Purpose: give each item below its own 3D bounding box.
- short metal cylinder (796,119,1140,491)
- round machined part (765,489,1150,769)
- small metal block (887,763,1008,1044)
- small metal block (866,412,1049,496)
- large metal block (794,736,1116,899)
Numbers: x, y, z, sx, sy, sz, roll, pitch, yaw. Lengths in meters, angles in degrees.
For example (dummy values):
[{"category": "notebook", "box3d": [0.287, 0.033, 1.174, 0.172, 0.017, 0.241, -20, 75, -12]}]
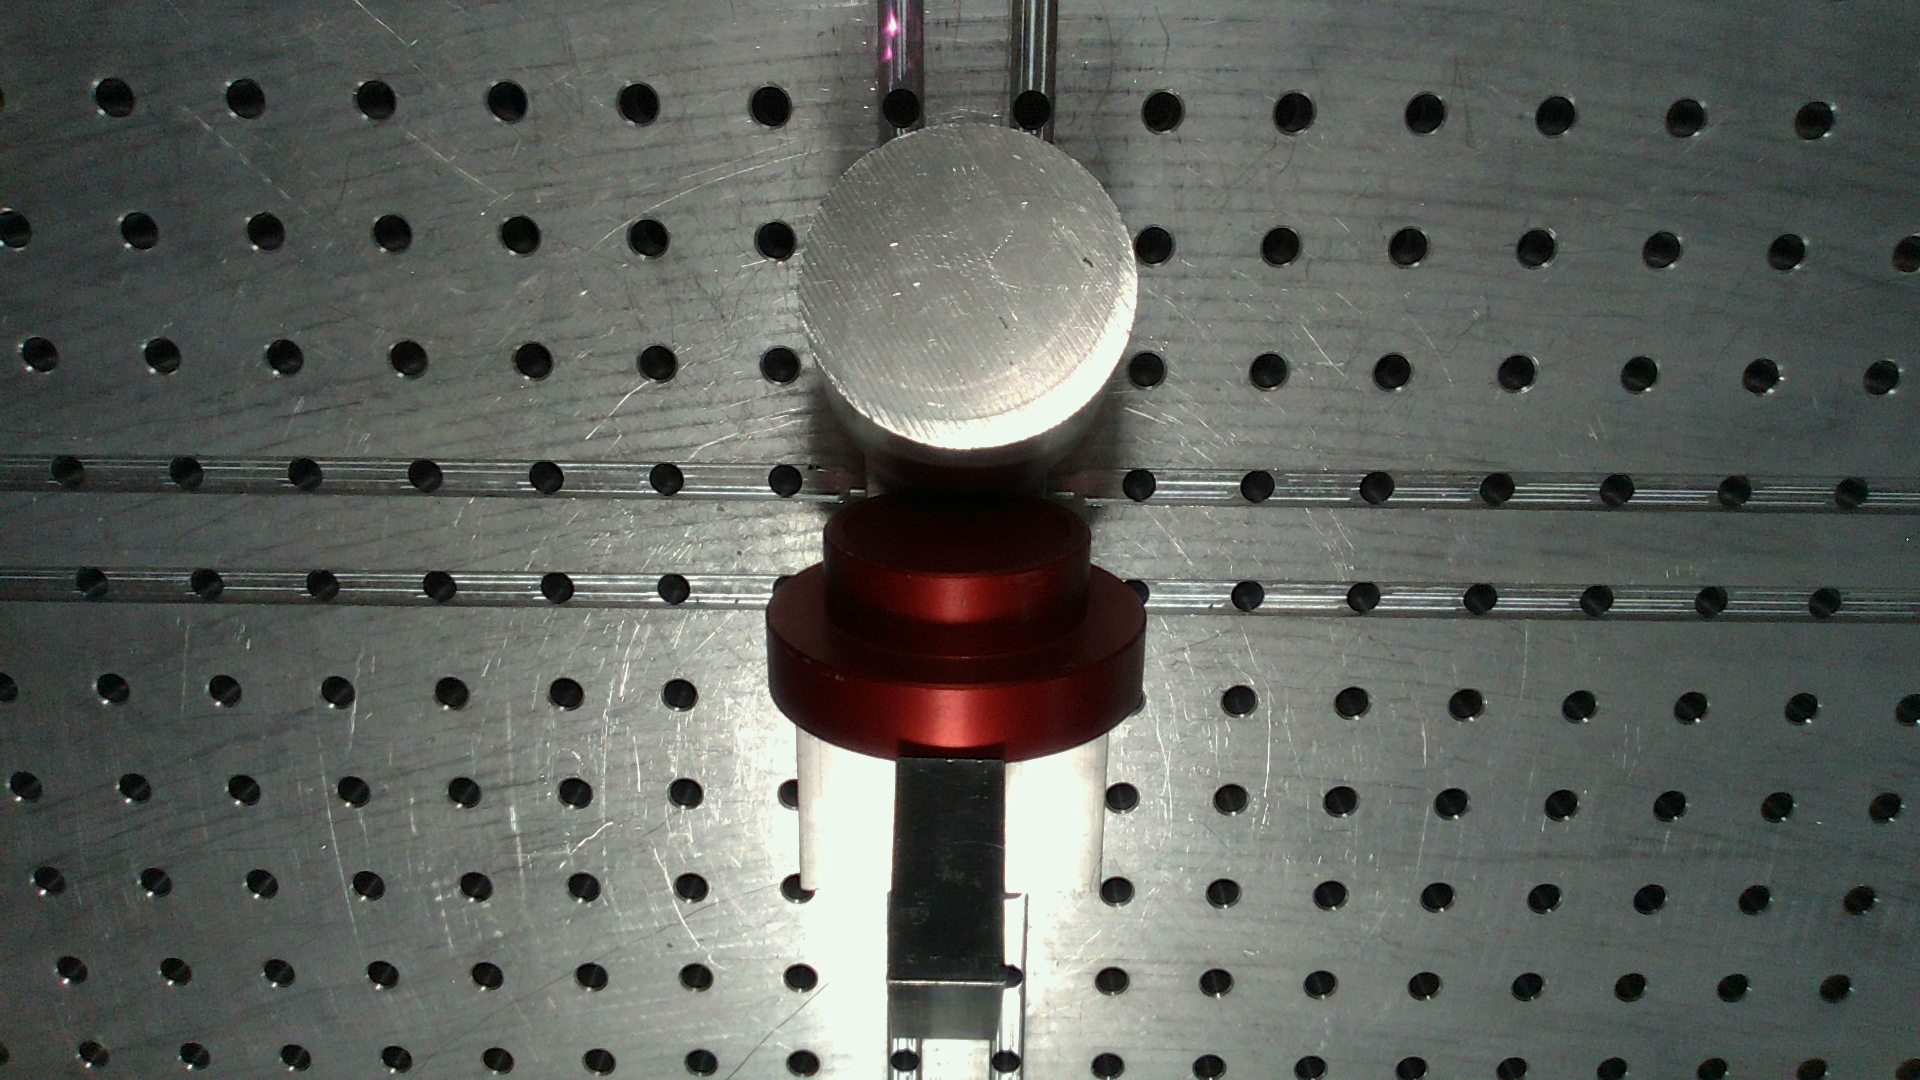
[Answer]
[{"category": "short metal cylinder", "box3d": [0.002, -0.056, 0.344, 0.080, 0.050, 0.080, 0, 80, -1]}, {"category": "round machined part", "box3d": [-0.001, 0.017, 0.353, 0.098, 0.098, 0.042, 1, 110, 0]}, {"category": "small metal block", "box3d": [-0.003, 0.085, 0.318, 0.025, 0.050, 0.050, 1, 148, -1]}, {"category": "small metal block", "box3d": [-0.001, -0.023, 0.387, 0.050, 0.025, 0.050, 1, 110, 0]}, {"category": "large metal block", "box3d": [-0.001, 0.056, 0.387, 0.080, 0.080, 0.050, 1, 110, 0]}]
